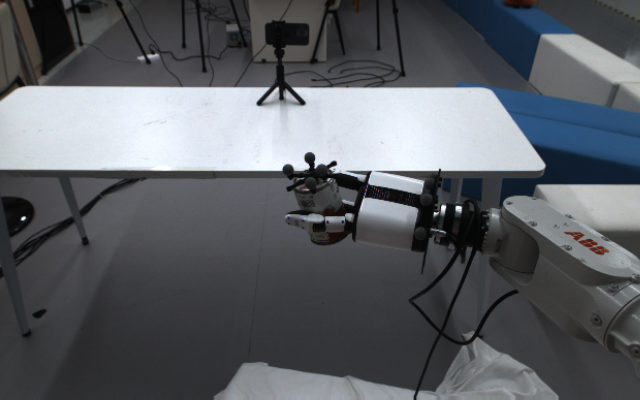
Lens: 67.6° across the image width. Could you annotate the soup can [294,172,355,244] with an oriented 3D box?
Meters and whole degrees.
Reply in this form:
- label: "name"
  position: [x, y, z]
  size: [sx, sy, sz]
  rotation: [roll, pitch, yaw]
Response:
- label: "soup can"
  position: [0.004, 0.011, 0.745]
  size: [0.067, 0.101, 0.067]
  rotation: [-13, 31, 8]
